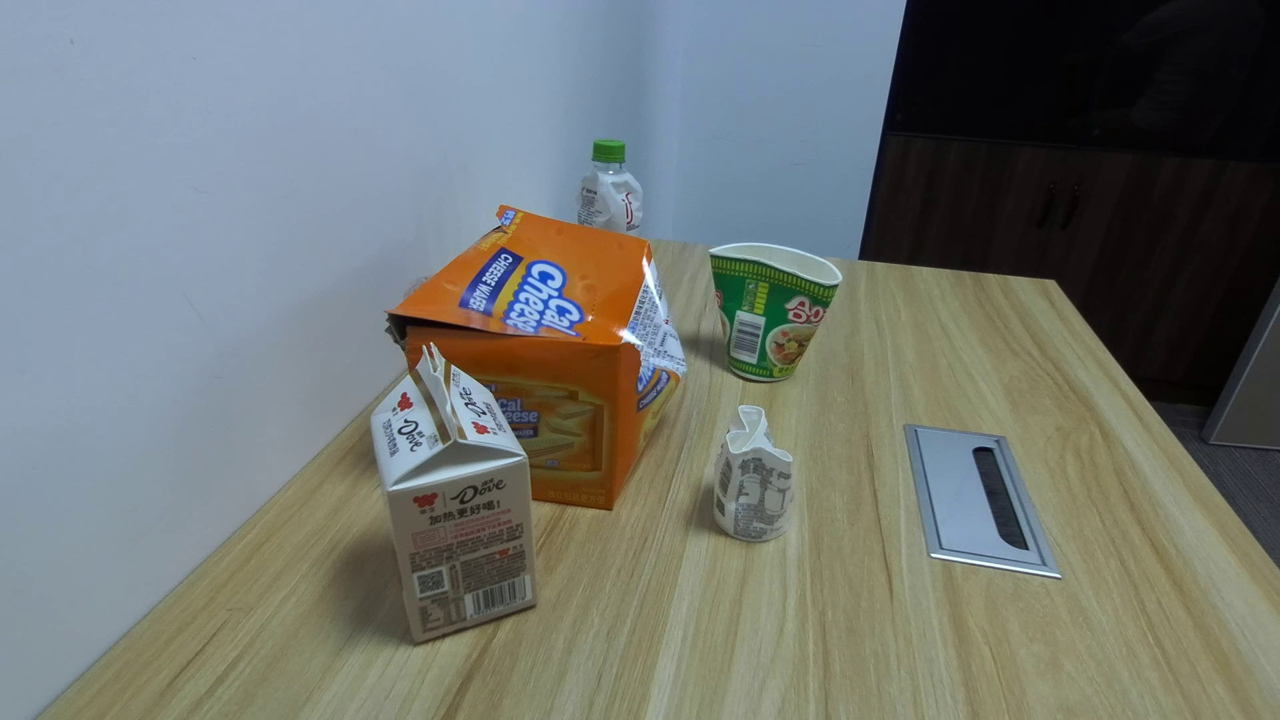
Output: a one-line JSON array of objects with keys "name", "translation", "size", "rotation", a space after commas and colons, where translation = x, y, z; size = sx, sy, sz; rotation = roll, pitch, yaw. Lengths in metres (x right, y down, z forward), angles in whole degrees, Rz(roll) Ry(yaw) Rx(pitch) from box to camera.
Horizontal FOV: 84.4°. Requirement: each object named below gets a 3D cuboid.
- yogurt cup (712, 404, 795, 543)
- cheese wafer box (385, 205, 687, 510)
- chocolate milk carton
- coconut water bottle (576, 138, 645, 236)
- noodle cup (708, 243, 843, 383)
[{"name": "yogurt cup", "translation": [0.076, 0.076, 0.471], "size": [0.055, 0.072, 0.055], "rotation": [9, 31, 16]}, {"name": "cheese wafer box", "translation": [-0.058, -0.015, 0.559], "size": [0.191, 0.145, 0.219], "rotation": [5, 29, 7]}, {"name": "chocolate milk carton", "translation": [-0.105, 0.069, 0.394], "size": [0.074, 0.148, 0.075], "rotation": [-11, 31, -23]}, {"name": "coconut water bottle", "translation": [-0.030, -0.121, 0.706], "size": [0.067, 0.187, 0.067], "rotation": [2, 23, 0]}, {"name": "noodle cup", "translation": [0.120, -0.043, 0.648], "size": [0.070, 0.111, 0.114], "rotation": [-18, 35, -29]}]
